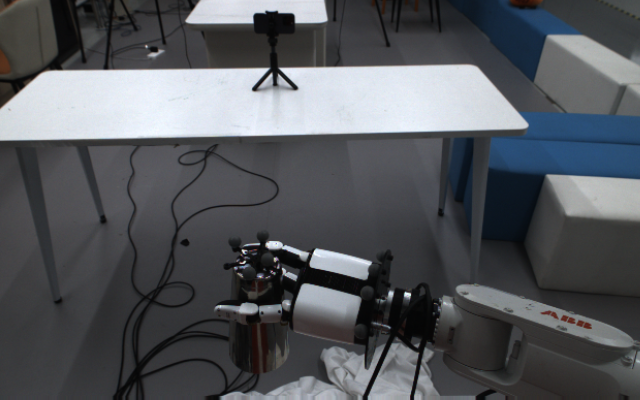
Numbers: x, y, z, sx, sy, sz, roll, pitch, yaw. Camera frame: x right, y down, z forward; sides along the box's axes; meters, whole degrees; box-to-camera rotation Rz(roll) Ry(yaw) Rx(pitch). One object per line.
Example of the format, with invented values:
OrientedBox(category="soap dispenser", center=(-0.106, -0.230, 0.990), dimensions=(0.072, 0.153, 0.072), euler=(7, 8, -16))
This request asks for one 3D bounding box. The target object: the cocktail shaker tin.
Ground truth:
OrientedBox(category="cocktail shaker tin", center=(-0.088, 0.155, 0.699), dimensions=(0.093, 0.170, 0.093), euler=(3, 33, -2))
